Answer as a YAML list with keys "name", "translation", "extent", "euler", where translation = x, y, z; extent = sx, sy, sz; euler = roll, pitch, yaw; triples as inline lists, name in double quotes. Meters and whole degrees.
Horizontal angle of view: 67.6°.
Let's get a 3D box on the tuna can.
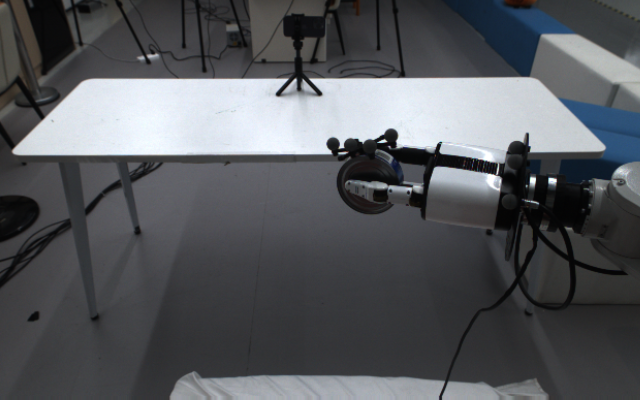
- name: "tuna can"
  translation: [0.069, -0.026, 0.652]
  extent: [0.085, 0.085, 0.034]
  euler: [13, 29, 15]
